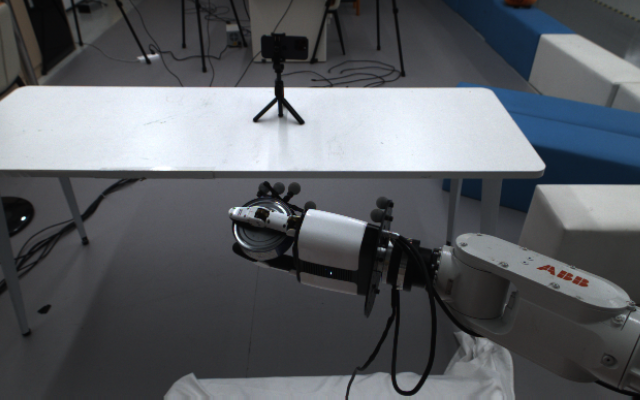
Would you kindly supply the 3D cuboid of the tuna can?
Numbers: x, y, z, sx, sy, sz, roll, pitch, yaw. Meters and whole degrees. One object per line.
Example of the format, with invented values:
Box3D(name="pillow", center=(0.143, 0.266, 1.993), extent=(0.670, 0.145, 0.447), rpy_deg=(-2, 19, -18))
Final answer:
Box3D(name="tuna can", center=(-0.076, 0.038, 0.676), extent=(0.085, 0.034, 0.085), rpy_deg=(-4, 56, 6))
